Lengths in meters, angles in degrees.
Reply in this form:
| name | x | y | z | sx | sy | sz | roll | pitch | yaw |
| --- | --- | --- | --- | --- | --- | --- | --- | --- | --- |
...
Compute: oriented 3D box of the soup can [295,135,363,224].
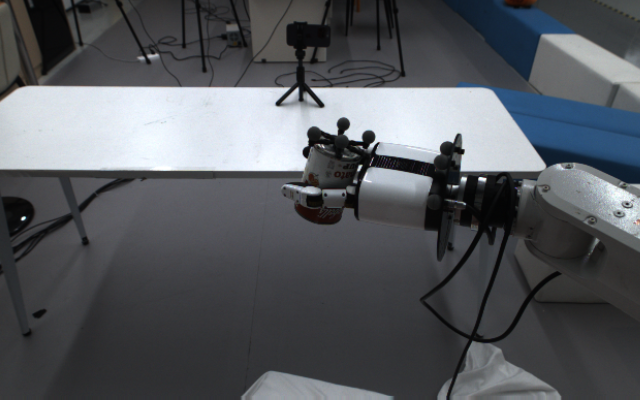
| name | x | y | z | sx | sy | sz | roll | pitch | yaw |
| --- | --- | --- | --- | --- | --- | --- | --- | --- | --- |
| soup can | 0.011 | -0.027 | 0.640 | 0.067 | 0.101 | 0.067 | 13 | 30 | -8 |
